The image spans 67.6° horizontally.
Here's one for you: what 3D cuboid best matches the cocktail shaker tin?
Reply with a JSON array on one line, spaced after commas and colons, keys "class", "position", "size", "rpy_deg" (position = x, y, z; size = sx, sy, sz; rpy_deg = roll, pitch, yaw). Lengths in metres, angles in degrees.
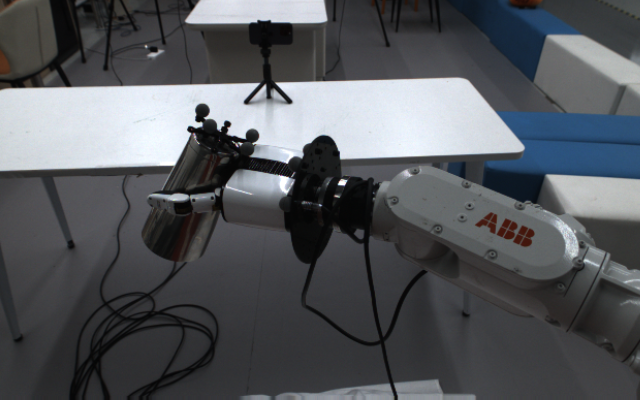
[{"class": "cocktail shaker tin", "position": [-0.166, -0.013, 0.648], "size": [0.093, 0.170, 0.093], "rpy_deg": [25, 29, -15]}]
